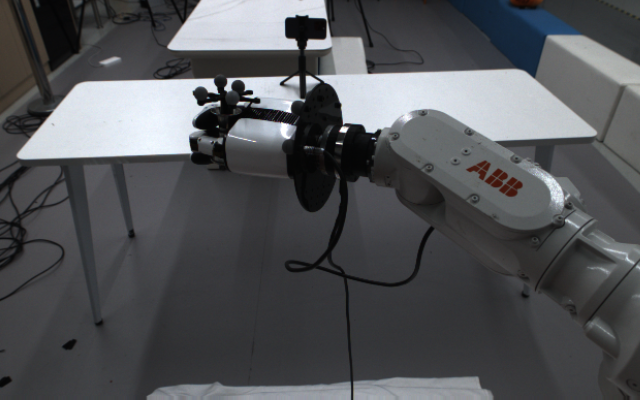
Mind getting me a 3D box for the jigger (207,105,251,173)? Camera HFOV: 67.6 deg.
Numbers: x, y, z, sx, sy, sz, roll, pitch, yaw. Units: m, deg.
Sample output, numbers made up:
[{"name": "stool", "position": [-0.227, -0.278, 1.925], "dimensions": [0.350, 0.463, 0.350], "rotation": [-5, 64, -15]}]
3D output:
[{"name": "jigger", "position": [-0.122, -0.085, 0.641], "dimensions": [0.043, 0.071, 0.043], "rotation": [5, 26, -3]}]
